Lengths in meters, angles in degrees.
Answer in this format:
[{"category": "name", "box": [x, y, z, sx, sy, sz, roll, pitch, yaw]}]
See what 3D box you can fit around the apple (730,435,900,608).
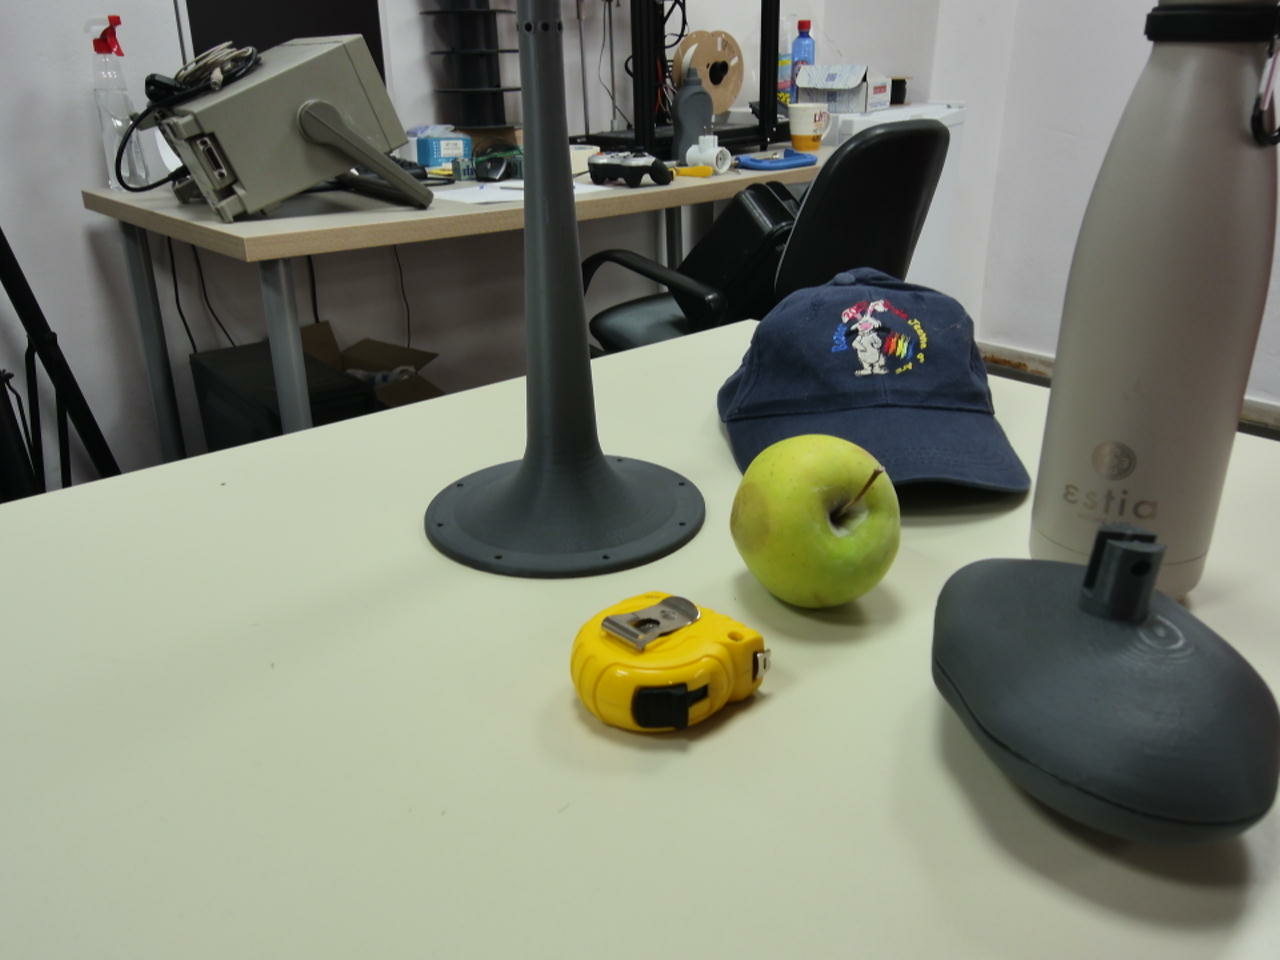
[{"category": "apple", "box": [0.076, 0.017, 0.440, 0.072, 0.075, 0.077, 2, 22, 5]}]
